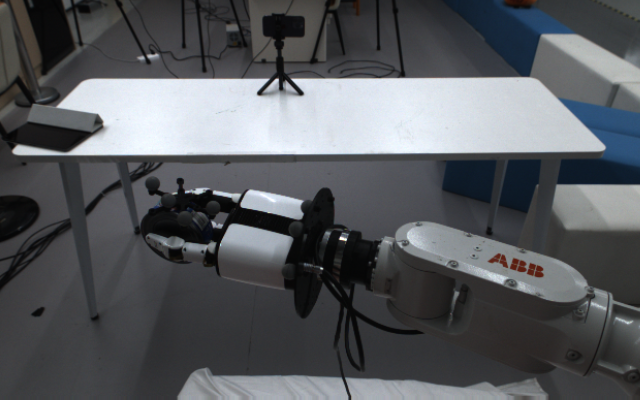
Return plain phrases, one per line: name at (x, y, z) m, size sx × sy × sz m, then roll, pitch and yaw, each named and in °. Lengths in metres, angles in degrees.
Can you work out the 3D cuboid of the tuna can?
tuna can at (-0.180, 0.040, 0.620) m, size 0.085 × 0.085 × 0.034 m, roll 9°, pitch 35°, yaw 10°
